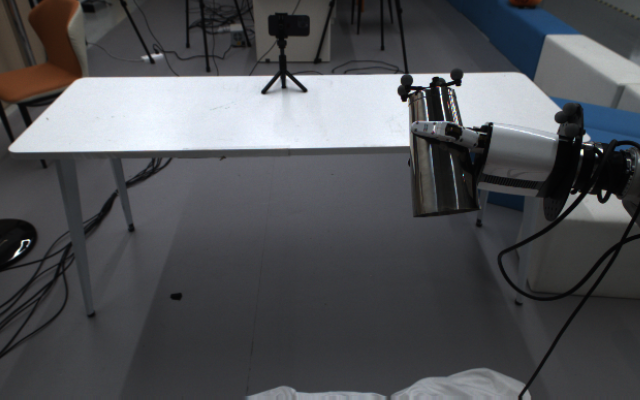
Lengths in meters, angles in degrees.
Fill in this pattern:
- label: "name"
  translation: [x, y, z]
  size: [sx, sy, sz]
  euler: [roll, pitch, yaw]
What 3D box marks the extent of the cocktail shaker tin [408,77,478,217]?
- label: "cocktail shaker tin"
  translation: [0.167, -0.066, 0.679]
  size: [0.093, 0.170, 0.093]
  euler: [-6, -7, -1]
